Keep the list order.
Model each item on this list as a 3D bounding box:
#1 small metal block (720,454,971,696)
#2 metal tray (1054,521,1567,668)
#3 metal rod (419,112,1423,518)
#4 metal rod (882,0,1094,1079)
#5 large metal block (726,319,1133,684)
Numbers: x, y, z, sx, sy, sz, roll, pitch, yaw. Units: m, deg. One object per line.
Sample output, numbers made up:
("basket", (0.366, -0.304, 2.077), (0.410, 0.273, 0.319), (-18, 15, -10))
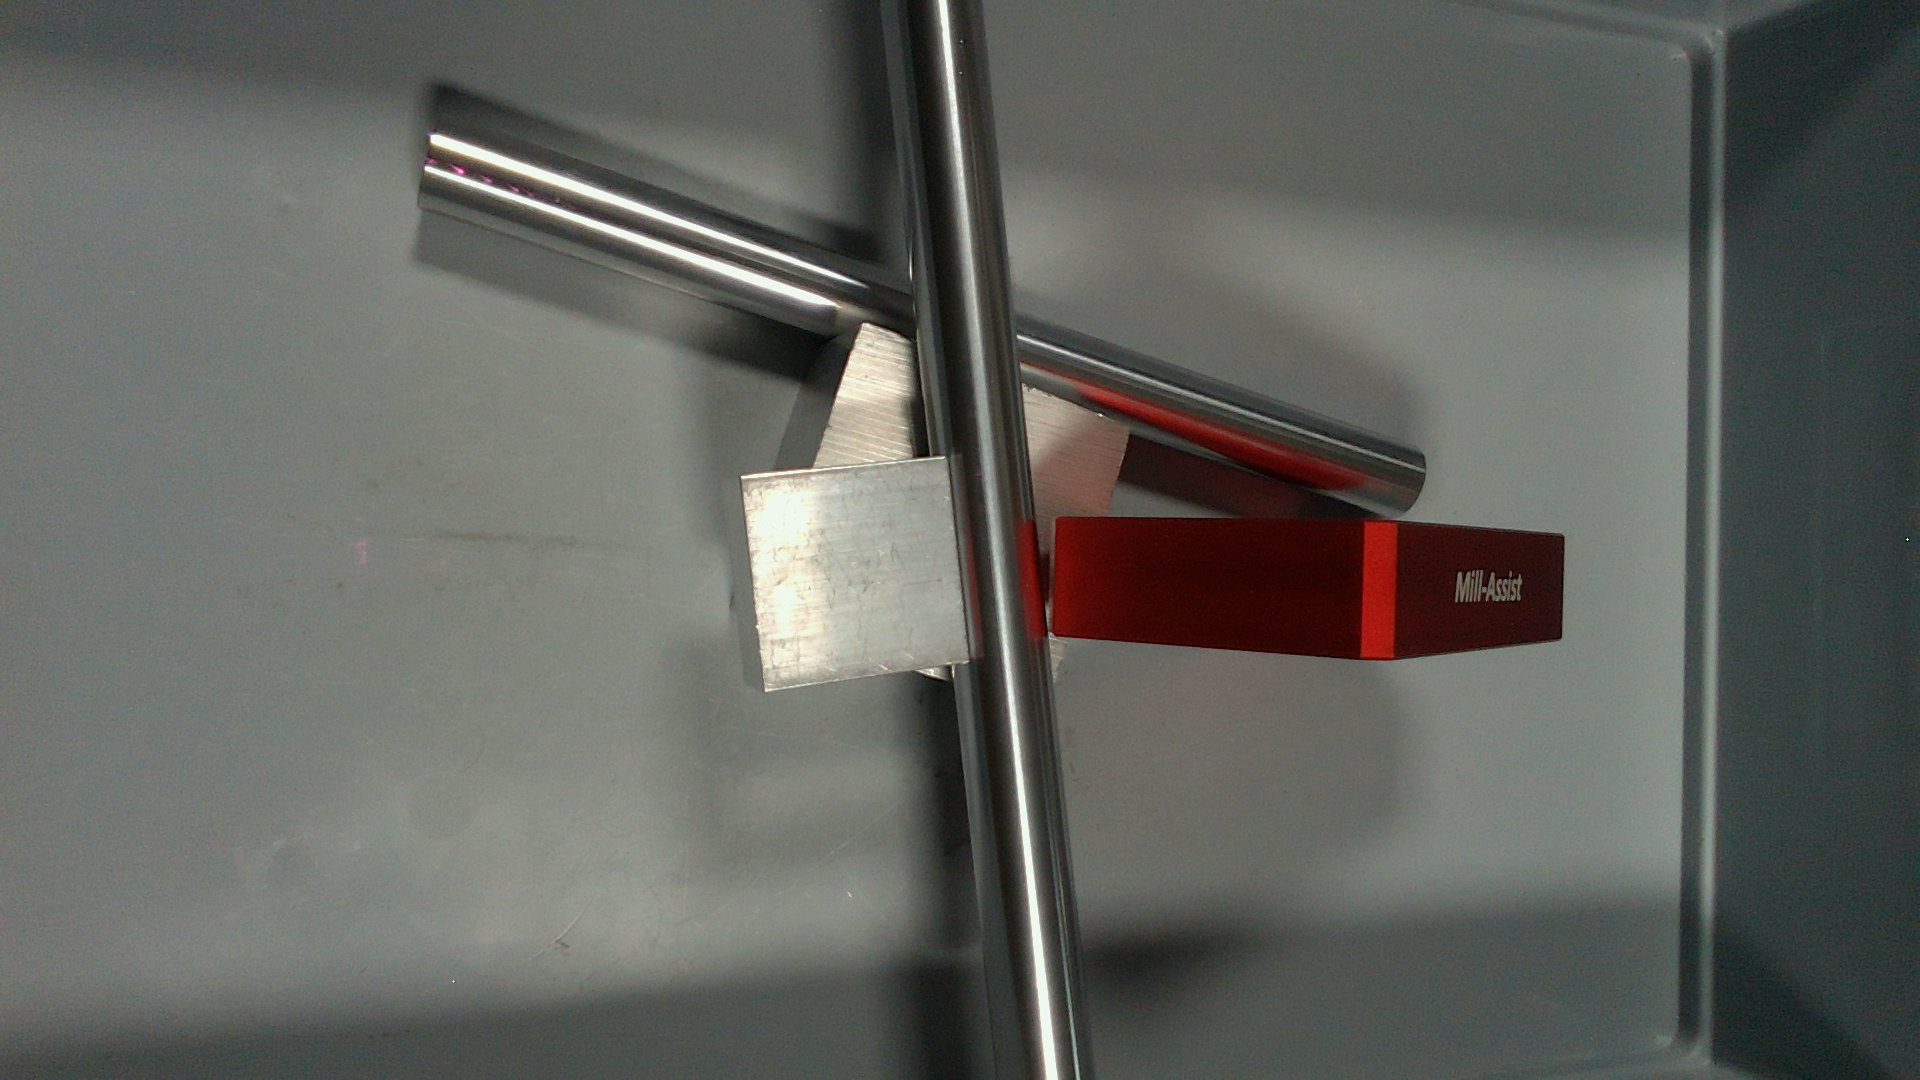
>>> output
("small metal block", (-0.028, 0.008, 0.329), (0.050, 0.025, 0.050), (-7, 92, -20))
("metal tray", (0.097, 0.012, 0.365), (0.131, 0.090, 0.030), (1, 90, -51))
("metal rod", (0.004, -0.057, 0.395), (0.301, 0.025, 0.025), (16, 85, -19))
("metal rod", (0.007, -0.003, 0.342), (0.025, 0.025, 0.300), (-7, 92, -20))
("large metal block", (-0.009, -0.005, 0.376), (0.080, 0.050, 0.080), (19, 84, -19))
